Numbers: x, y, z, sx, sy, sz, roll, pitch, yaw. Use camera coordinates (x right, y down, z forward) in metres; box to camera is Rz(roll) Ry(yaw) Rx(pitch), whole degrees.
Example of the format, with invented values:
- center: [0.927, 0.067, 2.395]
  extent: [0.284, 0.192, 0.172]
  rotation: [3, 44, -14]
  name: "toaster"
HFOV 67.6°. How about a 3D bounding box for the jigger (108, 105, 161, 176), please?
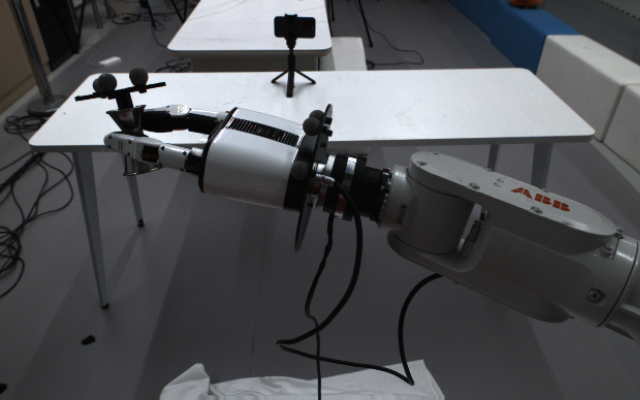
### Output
- center: [-0.195, -0.063, 0.519]
  extent: [0.043, 0.071, 0.043]
  rotation: [-10, 16, 3]
  name: "jigger"
